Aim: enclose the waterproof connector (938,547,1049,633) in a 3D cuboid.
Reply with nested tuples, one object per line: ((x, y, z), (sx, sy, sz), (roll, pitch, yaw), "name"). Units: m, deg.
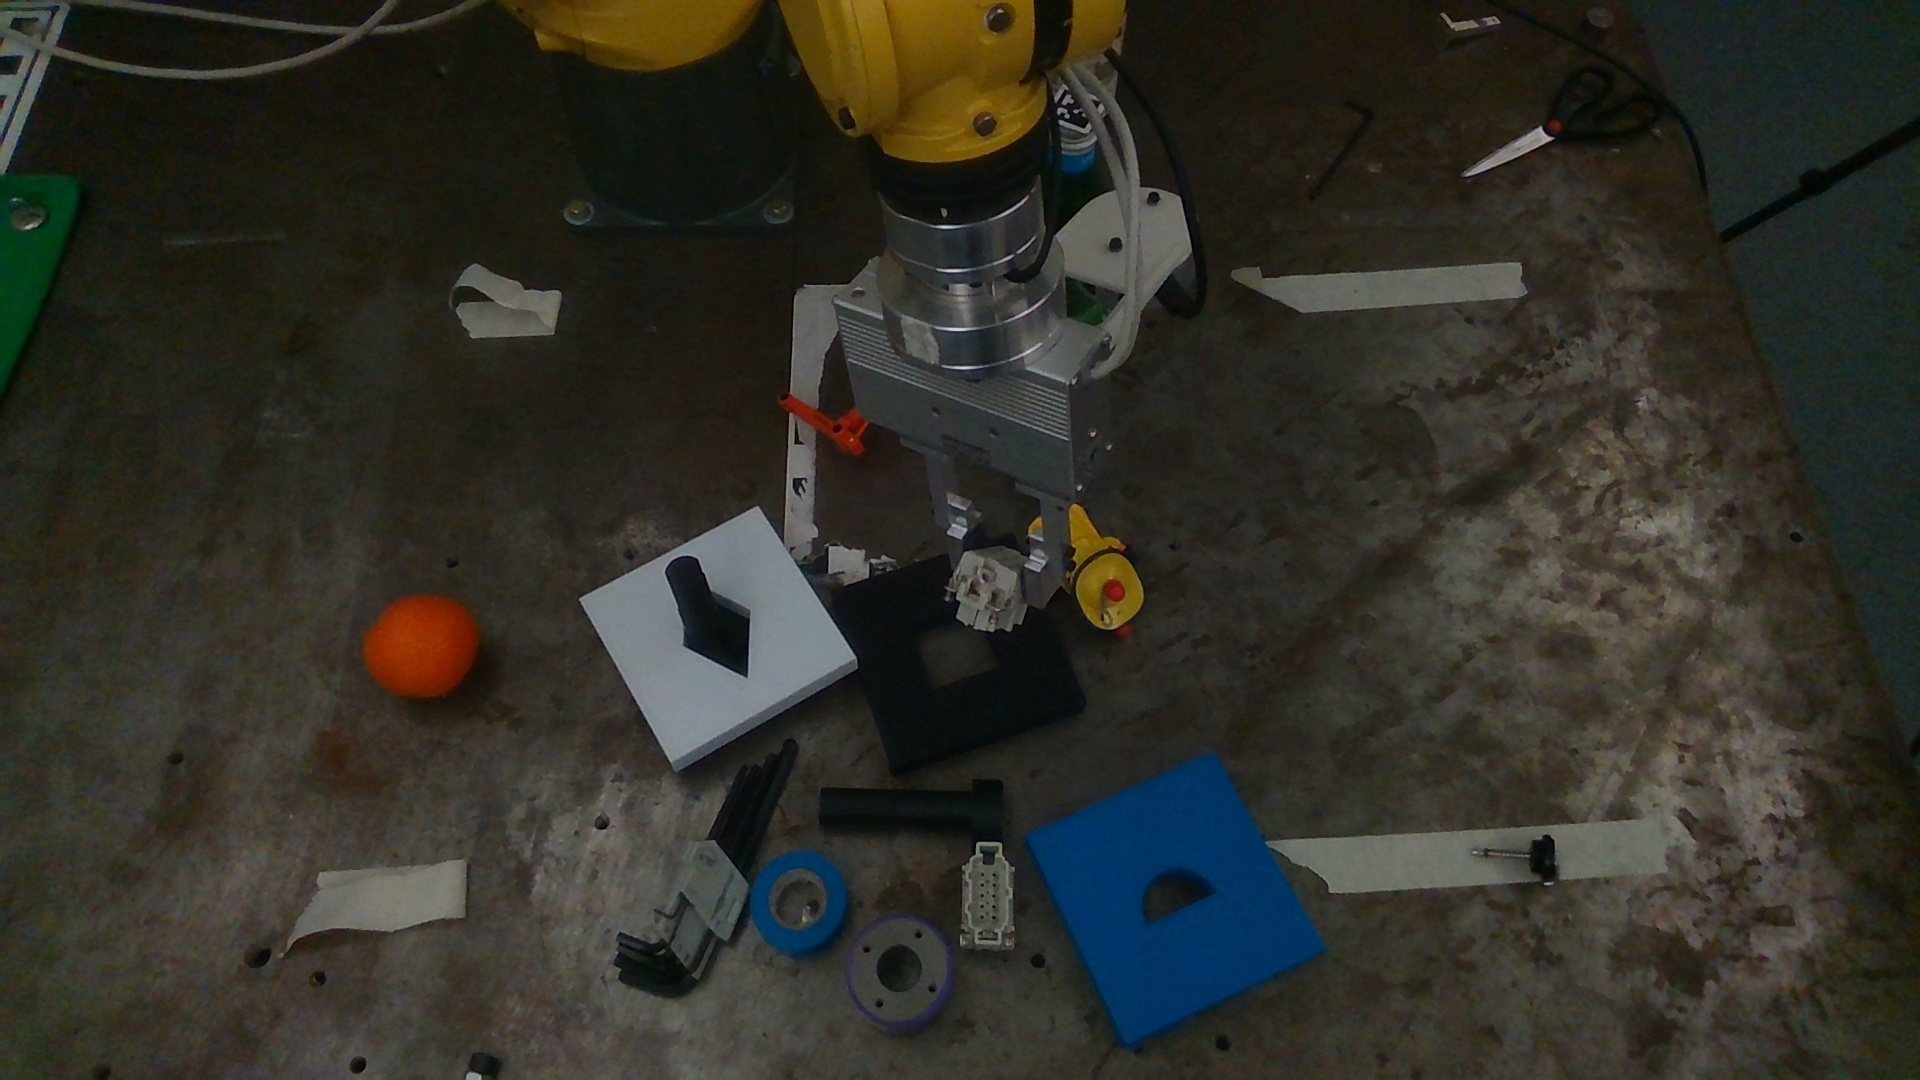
((0.019, 0.028, 0.743), (0.037, 0.069, 0.038), (19, 102, 27), "waterproof connector")
